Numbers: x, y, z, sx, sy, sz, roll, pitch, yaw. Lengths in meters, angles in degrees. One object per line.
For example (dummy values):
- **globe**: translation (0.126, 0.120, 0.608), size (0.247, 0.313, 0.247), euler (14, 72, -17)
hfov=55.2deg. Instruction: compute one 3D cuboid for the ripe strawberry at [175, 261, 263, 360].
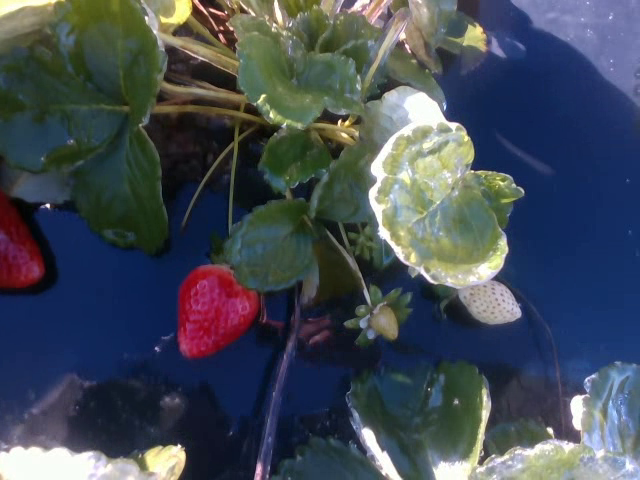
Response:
- **ripe strawberry**: translation (-0.043, 0.032, 0.248), size (0.039, 0.047, 0.040), euler (30, -14, -17)
